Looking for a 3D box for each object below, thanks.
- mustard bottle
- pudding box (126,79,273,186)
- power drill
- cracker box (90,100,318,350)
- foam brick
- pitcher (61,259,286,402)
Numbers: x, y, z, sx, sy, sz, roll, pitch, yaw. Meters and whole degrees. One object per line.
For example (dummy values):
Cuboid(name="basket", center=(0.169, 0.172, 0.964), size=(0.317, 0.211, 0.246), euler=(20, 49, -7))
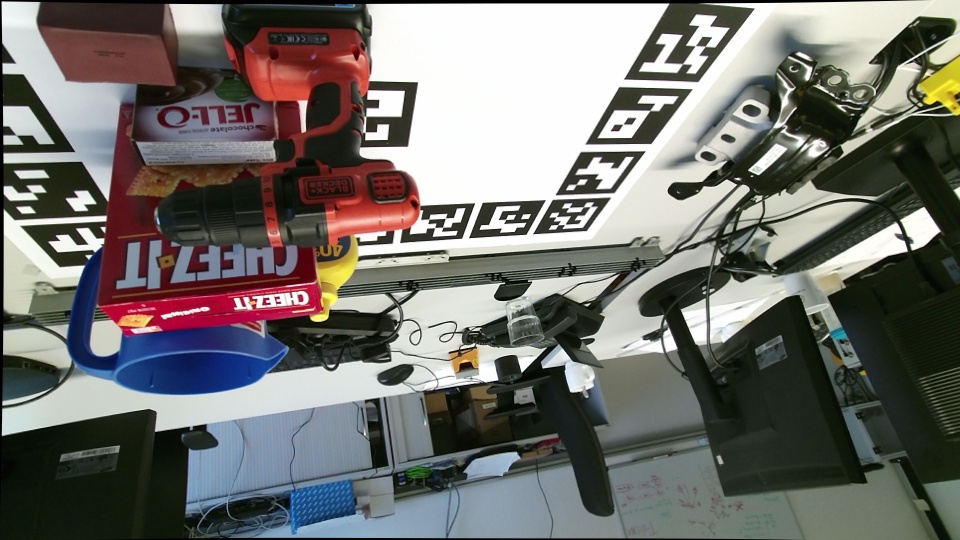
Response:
Cuboid(name="mustard bottle", center=(-0.187, -0.014, 0.601), size=(0.096, 0.190, 0.058), euler=(1, 148, -28))
Cuboid(name="pudding box", center=(-0.244, -0.122, 0.473), size=(0.114, 0.089, 0.039), euler=(-8, 154, -19))
Cuboid(name="power drill", center=(-0.156, -0.101, 0.408), size=(0.185, 0.186, 0.057), euler=(-6, 155, -15))
Cuboid(name="cracker box", center=(-0.248, -0.051, 0.488), size=(0.165, 0.212, 0.072), euler=(-9, 154, -16))
Cuboid(name="foam brick", center=(-0.294, -0.177, 0.418), size=(0.078, 0.051, 0.053), euler=(-5, 149, -19))
Cuboid(name="pitcher", center=(-0.312, 0.009, 0.558), size=(0.189, 0.241, 0.133), euler=(-5, 151, -23))
